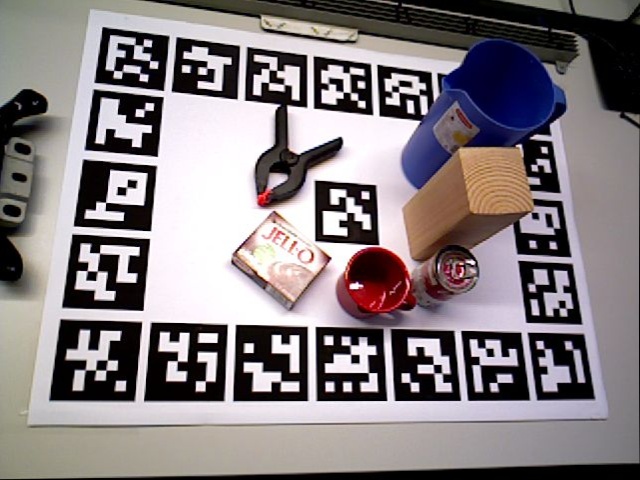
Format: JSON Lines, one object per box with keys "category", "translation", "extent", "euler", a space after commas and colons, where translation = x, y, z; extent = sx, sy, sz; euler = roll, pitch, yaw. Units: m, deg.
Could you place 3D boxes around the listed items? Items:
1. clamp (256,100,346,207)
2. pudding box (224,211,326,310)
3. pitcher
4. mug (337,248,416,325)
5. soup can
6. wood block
{"category": "clamp", "translation": [-0.044, -0.120, 0.814], "extent": [0.121, 0.037, 0.163], "euler": [34, 69, -8]}
{"category": "pudding box", "translation": [-0.063, 0.029, 0.755], "extent": [0.114, 0.039, 0.089], "euler": [39, 71, 3]}
{"category": "pitcher", "translation": [0.227, -0.160, 0.768], "extent": [0.187, 0.247, 0.132], "euler": [3, 68, -9]}
{"category": "mug", "translation": [0.080, 0.076, 0.744], "extent": [0.117, 0.083, 0.091], "euler": [37, 65, 3]}
{"category": "soup can", "translation": [0.173, 0.060, 0.757], "extent": [0.067, 0.104, 0.067], "euler": [3, 73, -12]}
{"category": "wood block", "translation": [0.201, -0.042, 0.740], "extent": [0.089, 0.210, 0.090], "euler": [2, 70, -16]}
